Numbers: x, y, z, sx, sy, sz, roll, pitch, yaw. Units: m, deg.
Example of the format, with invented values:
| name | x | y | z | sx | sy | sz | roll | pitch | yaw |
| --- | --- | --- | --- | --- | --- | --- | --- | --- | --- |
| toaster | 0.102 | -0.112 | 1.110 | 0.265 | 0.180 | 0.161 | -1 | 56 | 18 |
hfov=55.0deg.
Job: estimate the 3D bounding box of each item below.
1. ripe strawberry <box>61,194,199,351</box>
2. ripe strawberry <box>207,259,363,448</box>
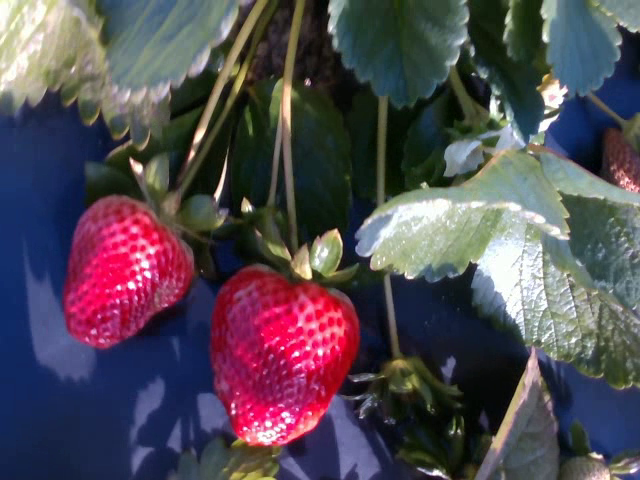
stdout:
| name | x | y | z | sx | sy | sz | roll | pitch | yaw |
| --- | --- | --- | --- | --- | --- | --- | --- | --- | --- |
| ripe strawberry | -0.062 | 0.012 | 0.184 | 0.043 | 0.052 | 0.037 | 0 | -27 | 20 |
| ripe strawberry | -0.012 | 0.038 | 0.187 | 0.052 | 0.058 | 0.046 | 9 | -27 | 17 |
